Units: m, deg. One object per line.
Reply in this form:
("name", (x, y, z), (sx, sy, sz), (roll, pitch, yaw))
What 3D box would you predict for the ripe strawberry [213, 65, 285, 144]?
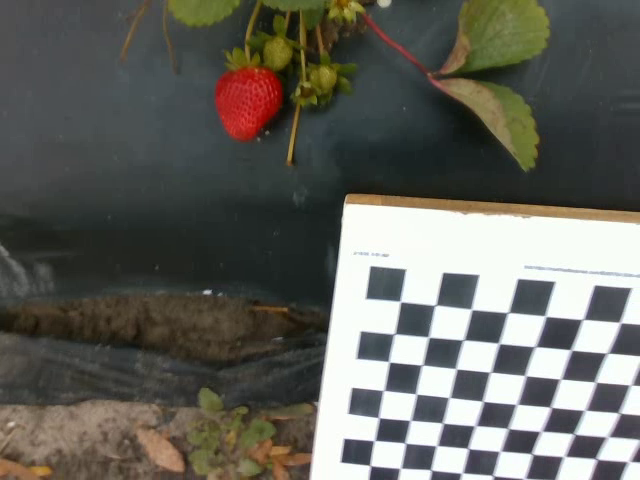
("ripe strawberry", (-0.013, -0.025, 0.086), (0.018, 0.017, 0.014), (8, -25, -8))
